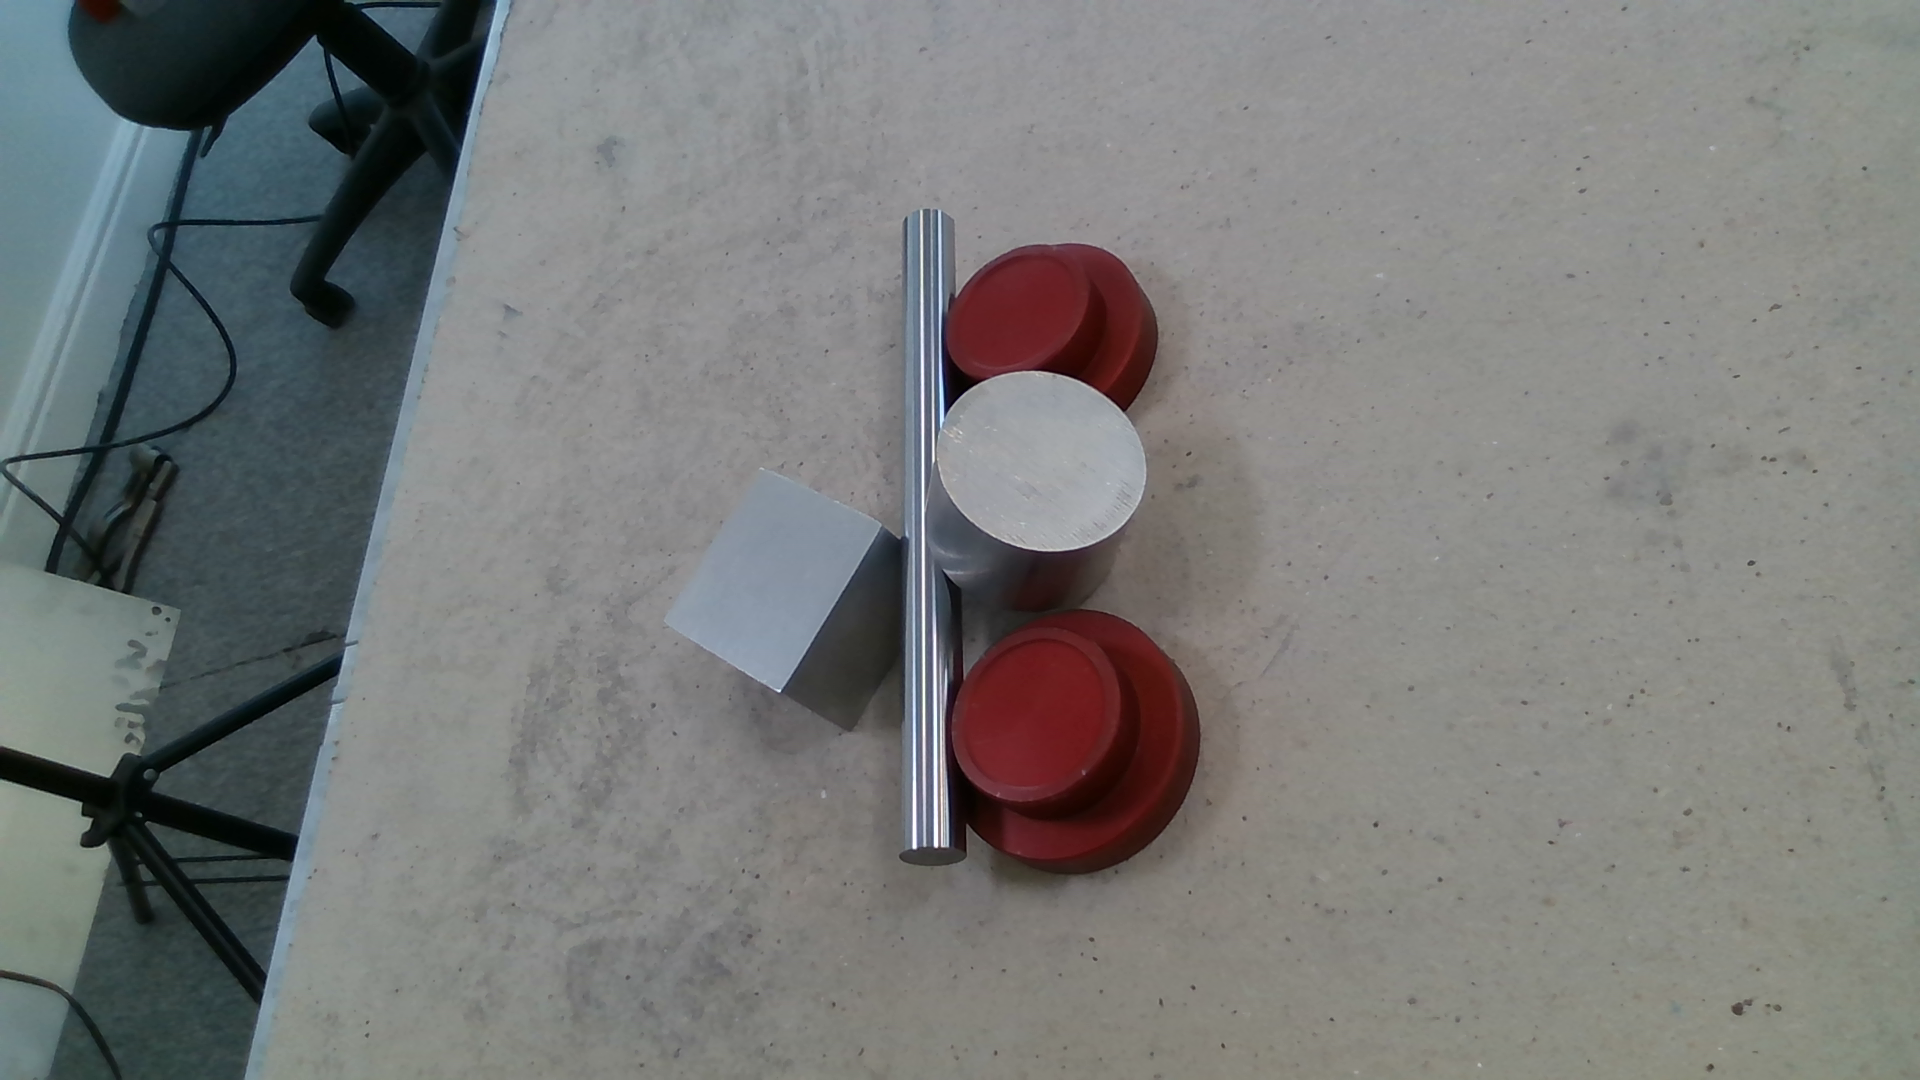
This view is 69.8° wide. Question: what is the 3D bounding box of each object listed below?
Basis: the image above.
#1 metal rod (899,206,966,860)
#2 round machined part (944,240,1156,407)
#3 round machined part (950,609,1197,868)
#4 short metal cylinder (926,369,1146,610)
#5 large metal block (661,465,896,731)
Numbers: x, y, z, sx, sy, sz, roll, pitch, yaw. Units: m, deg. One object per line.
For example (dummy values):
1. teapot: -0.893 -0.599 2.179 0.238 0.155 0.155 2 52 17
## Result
1. metal rod: -0.012 -0.017 0.575 0.025 0.025 0.299 -15 58 24
2. round machined part: 0.033 -0.091 0.602 0.098 0.042 0.098 -14 59 25
3. round machined part: 0.036 0.071 0.516 0.098 0.042 0.098 -14 59 25
4. short metal cylinder: 0.028 -0.019 0.539 0.080 0.050 0.080 3 61 -6
5. large metal block: -0.069 0.024 0.597 0.080 0.050 0.080 24 80 38
